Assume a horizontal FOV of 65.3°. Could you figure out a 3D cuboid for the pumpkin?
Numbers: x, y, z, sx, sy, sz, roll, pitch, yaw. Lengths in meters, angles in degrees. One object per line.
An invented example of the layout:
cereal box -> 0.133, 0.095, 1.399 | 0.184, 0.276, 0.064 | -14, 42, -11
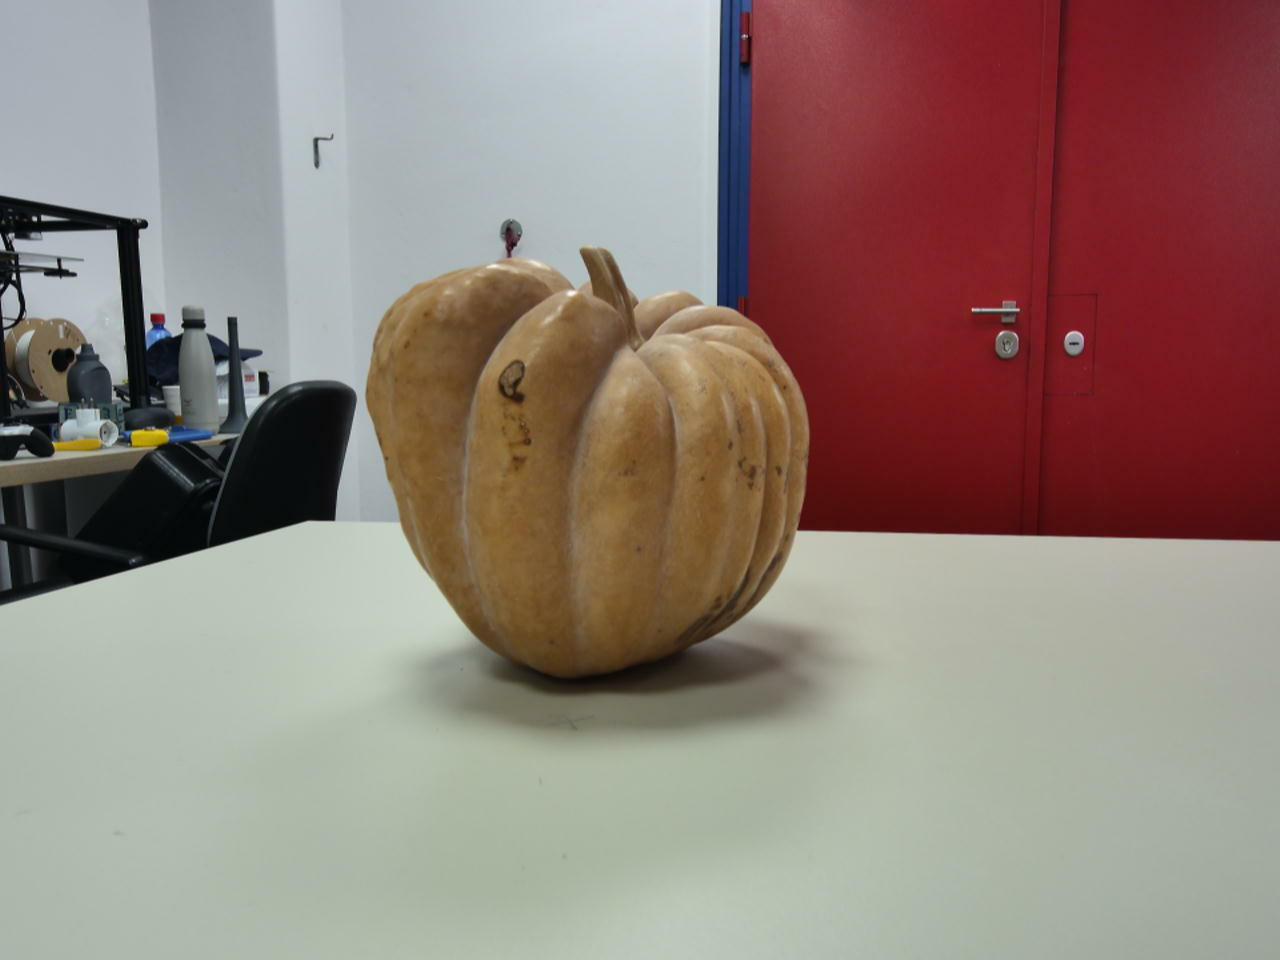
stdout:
pumpkin -> -0.023, -0.010, 0.433 | 0.199, 0.177, 0.198 | 0, 4, 0
